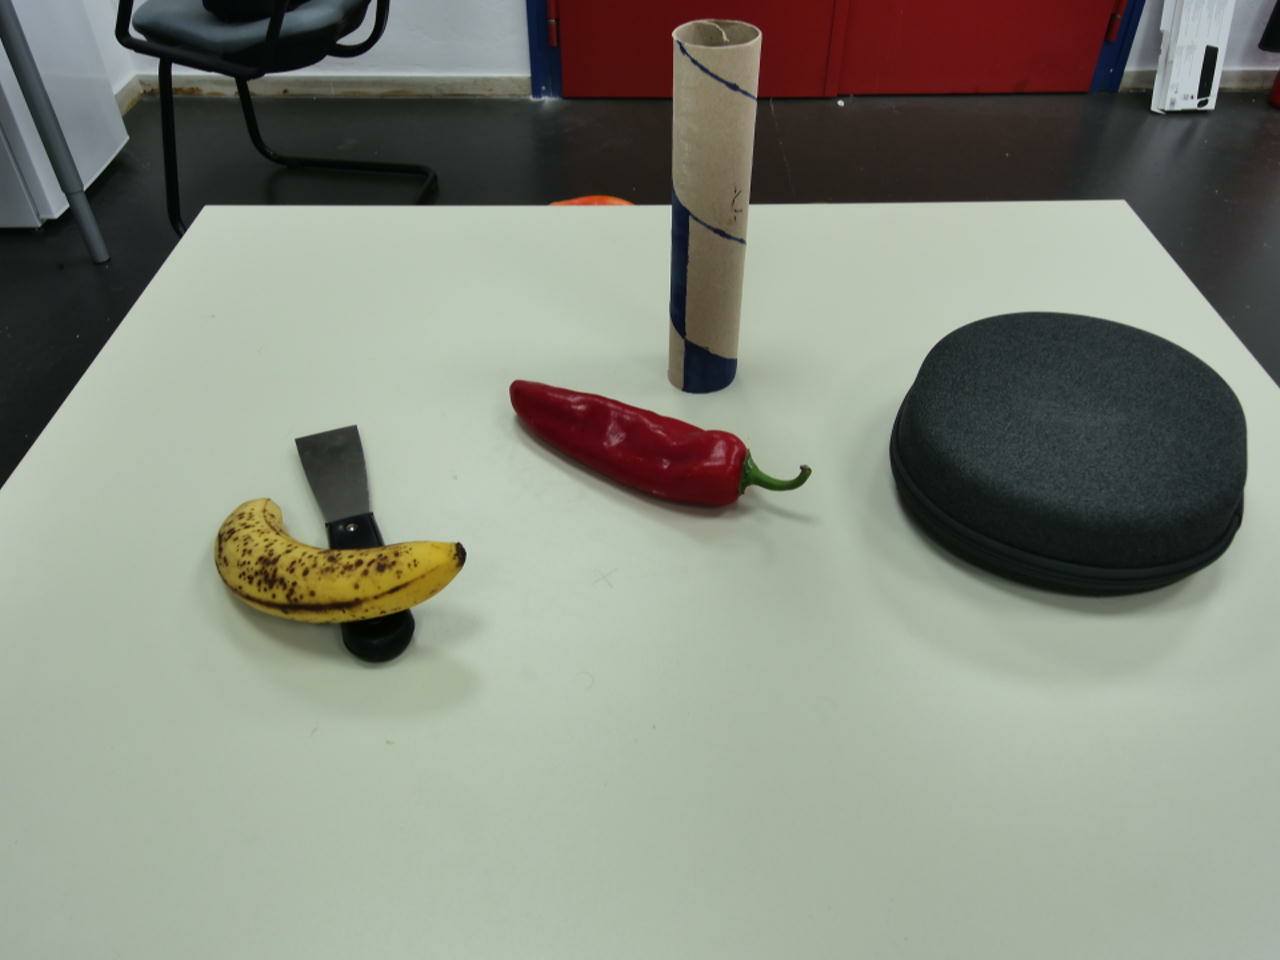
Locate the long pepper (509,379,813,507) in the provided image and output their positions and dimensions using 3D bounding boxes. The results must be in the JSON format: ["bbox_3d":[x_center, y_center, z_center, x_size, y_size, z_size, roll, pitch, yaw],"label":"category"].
[{"bbox_3d":[0.000,-0.023,0.601,0.211,0.043,0.050,22,44,24],"label":"long pepper"}]
